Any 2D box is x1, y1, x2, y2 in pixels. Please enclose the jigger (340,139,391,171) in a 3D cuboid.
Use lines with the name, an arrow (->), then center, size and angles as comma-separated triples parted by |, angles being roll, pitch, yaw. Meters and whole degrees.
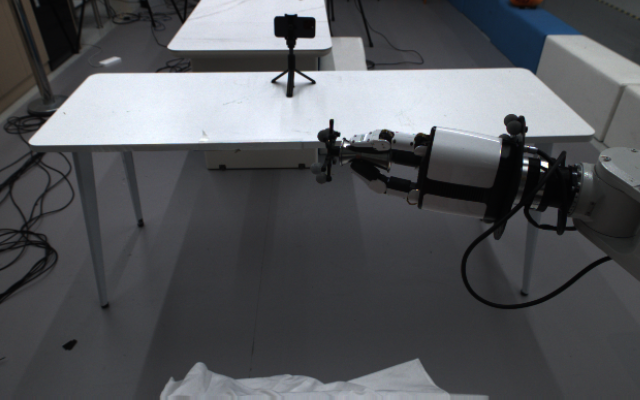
jigger -> 0.070, -0.067, 0.667 | 0.071, 0.043, 0.043 | 7, 35, 11
